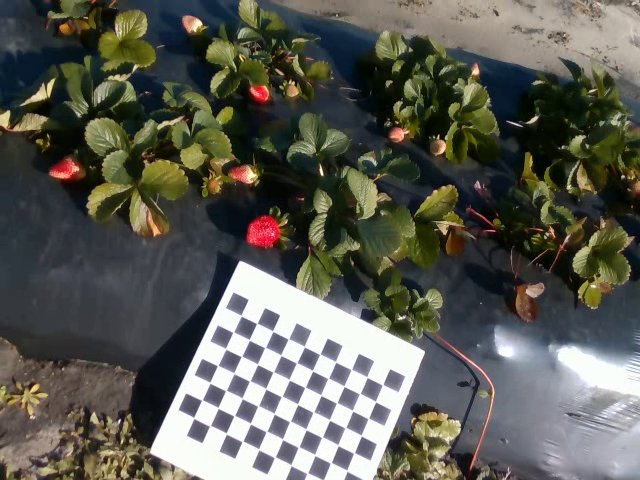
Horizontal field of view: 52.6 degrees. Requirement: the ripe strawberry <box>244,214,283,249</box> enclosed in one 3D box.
[{"bbox_3d":[-0.080,-0.008,0.861,0.058,0.066,0.061,-21,1,20],"label":"ripe strawberry"}]
